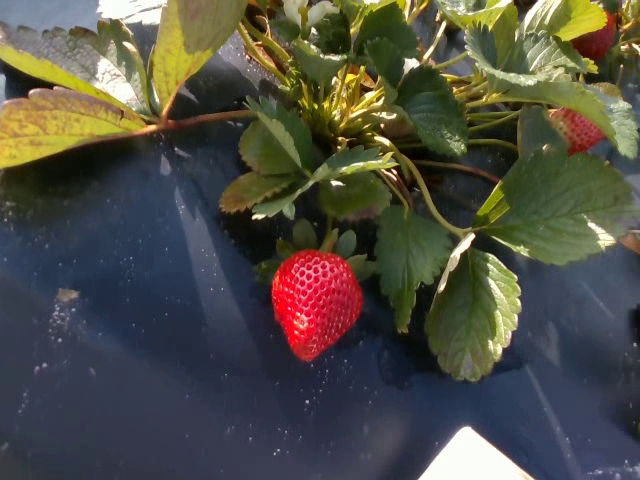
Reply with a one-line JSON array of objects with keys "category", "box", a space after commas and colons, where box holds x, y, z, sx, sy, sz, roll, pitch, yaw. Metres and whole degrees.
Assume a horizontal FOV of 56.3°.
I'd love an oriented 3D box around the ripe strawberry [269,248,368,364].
[{"category": "ripe strawberry", "box": [-0.002, 0.025, 0.202, 0.041, 0.041, 0.047, 8, 37, 10]}]
